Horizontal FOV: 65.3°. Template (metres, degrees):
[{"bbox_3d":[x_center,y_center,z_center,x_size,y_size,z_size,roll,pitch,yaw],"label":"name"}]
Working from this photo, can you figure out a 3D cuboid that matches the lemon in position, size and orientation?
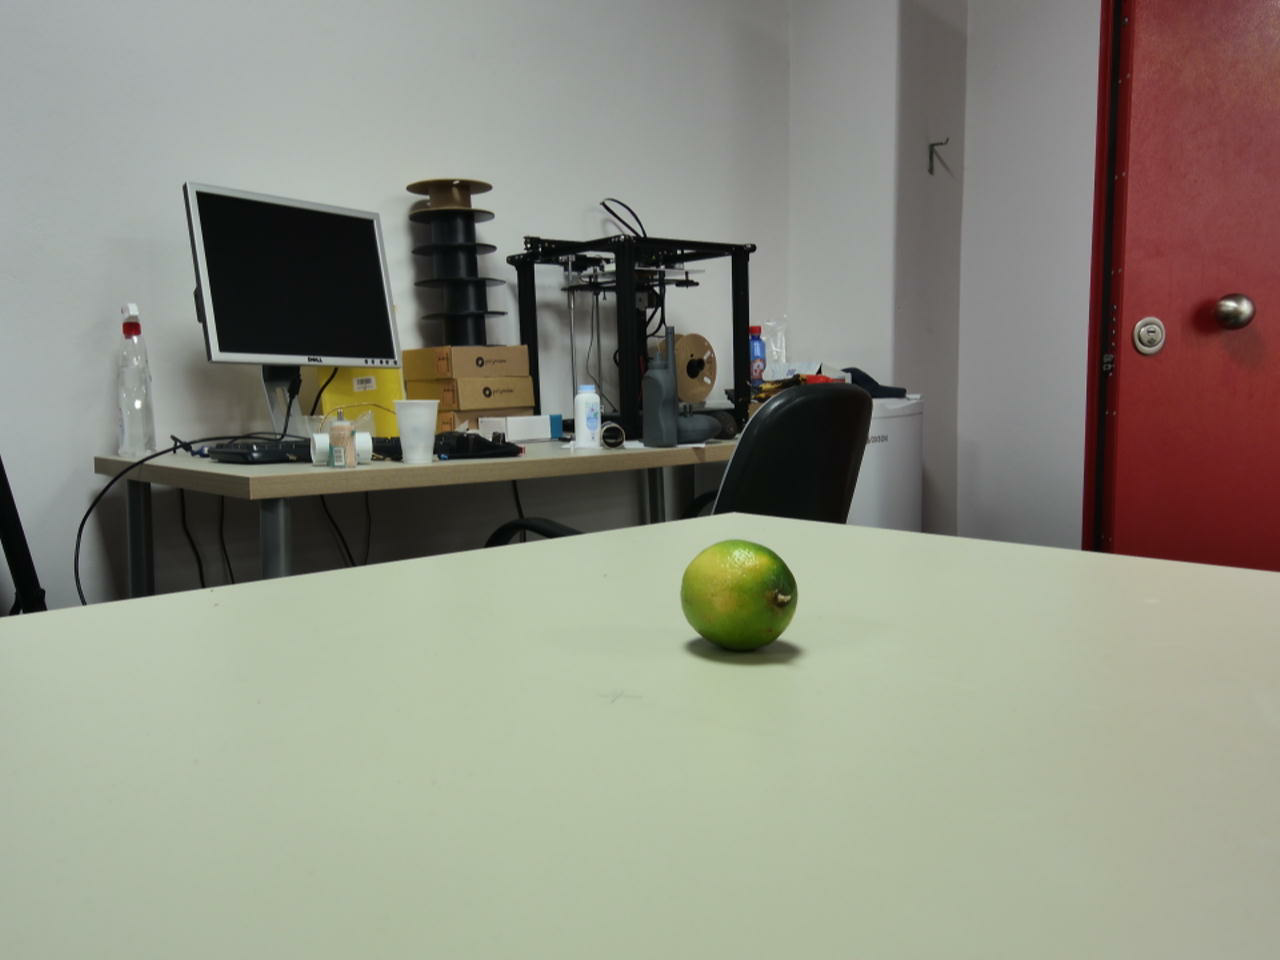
[{"bbox_3d":[0.046,0.054,0.474,0.054,0.050,0.055,0,3,9],"label":"lemon"}]
